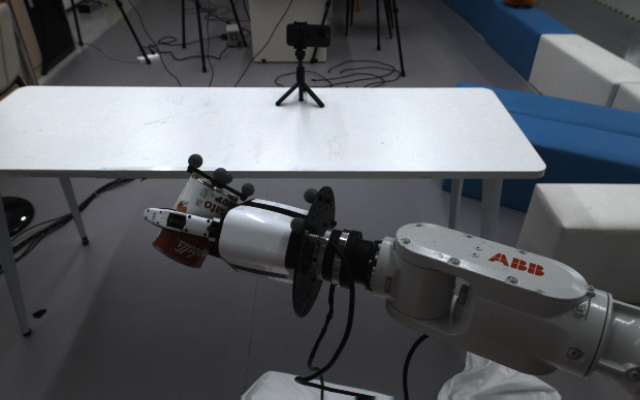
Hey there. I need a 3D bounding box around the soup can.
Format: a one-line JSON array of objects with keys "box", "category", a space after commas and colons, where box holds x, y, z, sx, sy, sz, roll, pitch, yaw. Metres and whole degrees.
[{"box": [-0.156, 0.027, 0.611, 0.067, 0.101, 0.067, 29, -2, 1], "category": "soup can"}]
